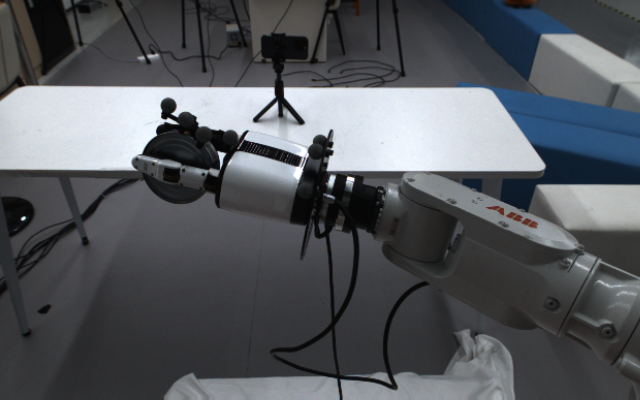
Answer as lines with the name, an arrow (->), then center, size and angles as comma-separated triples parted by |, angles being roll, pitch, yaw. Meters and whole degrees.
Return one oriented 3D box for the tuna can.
tuna can -> -0.162, -0.041, 0.572 | 0.085, 0.085, 0.034 | 7, 17, 7
